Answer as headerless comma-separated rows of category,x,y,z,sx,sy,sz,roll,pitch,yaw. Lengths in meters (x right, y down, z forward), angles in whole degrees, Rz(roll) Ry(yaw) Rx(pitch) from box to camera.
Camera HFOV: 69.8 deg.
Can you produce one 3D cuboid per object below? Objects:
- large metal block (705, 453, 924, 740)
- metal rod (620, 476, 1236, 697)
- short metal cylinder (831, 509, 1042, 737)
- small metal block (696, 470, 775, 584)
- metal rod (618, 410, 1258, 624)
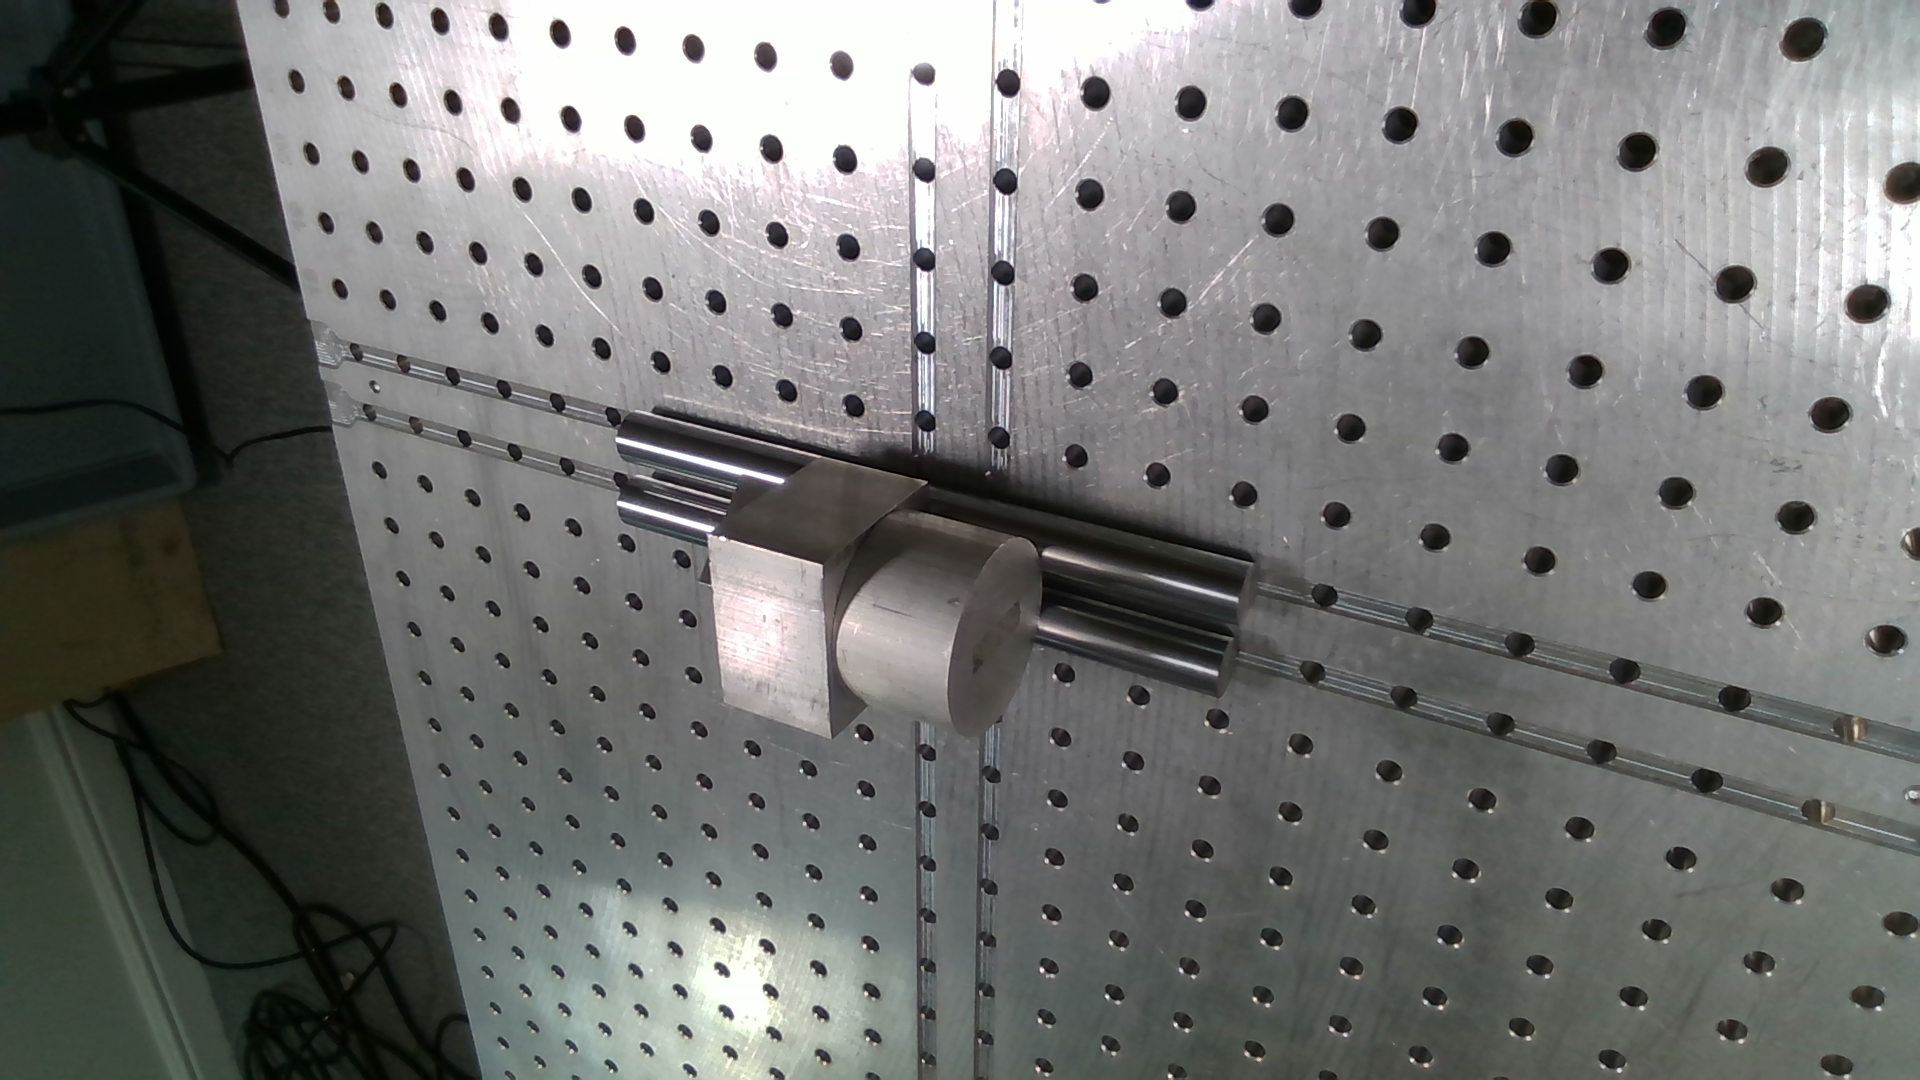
large metal block,-0.056,0.021,0.561,0.050,0.080,0.080,15,122,25
metal rod,-0.025,0.015,0.608,0.300,0.025,0.025,15,122,24
short metal cylinder,-0.008,0.032,0.542,0.050,0.080,0.080,15,122,24
small metal block,-0.081,0.005,0.590,0.025,0.050,0.050,15,167,24
metal rod,-0.022,-0.015,0.590,0.300,0.025,0.025,15,122,24
